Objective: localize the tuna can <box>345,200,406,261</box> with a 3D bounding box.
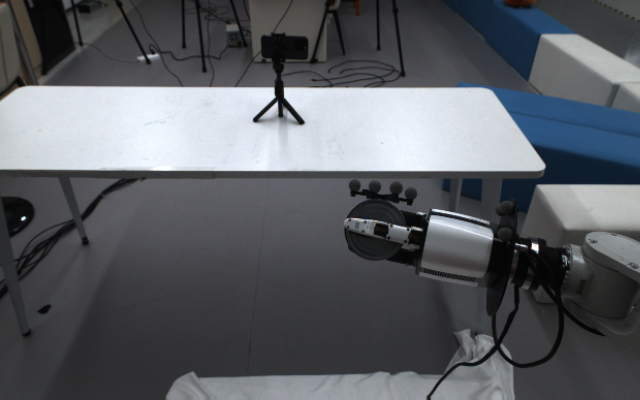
[{"bbox_3d":[0.079,0.038,0.676,0.085,0.085,0.034,11,-7,13],"label":"tuna can"}]
